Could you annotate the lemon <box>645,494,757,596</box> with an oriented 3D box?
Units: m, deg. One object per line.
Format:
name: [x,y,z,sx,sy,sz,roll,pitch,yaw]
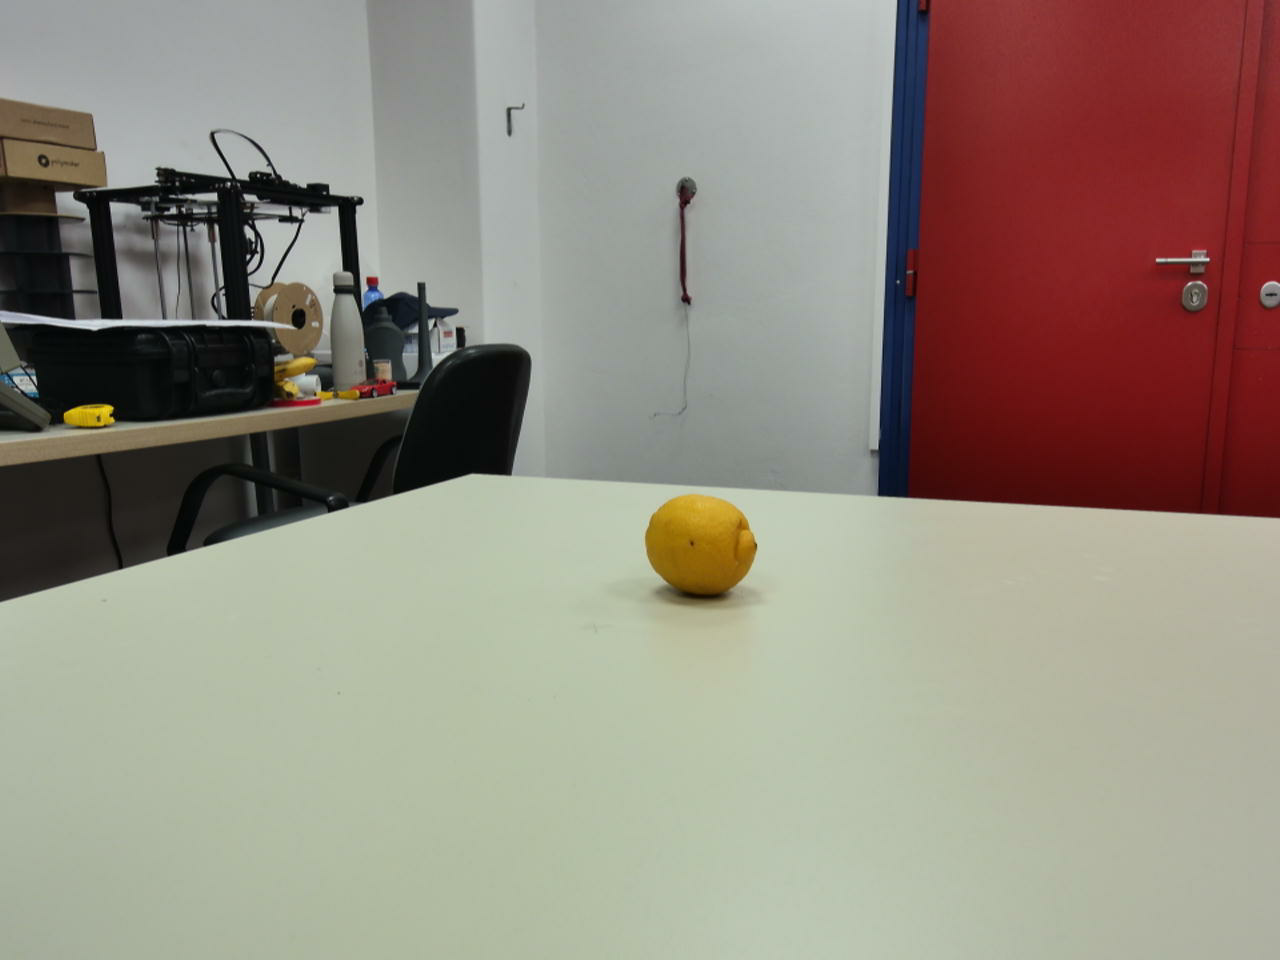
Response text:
lemon: [0.036,0.039,0.603,0.061,0.059,0.067,-2,8,-25]
